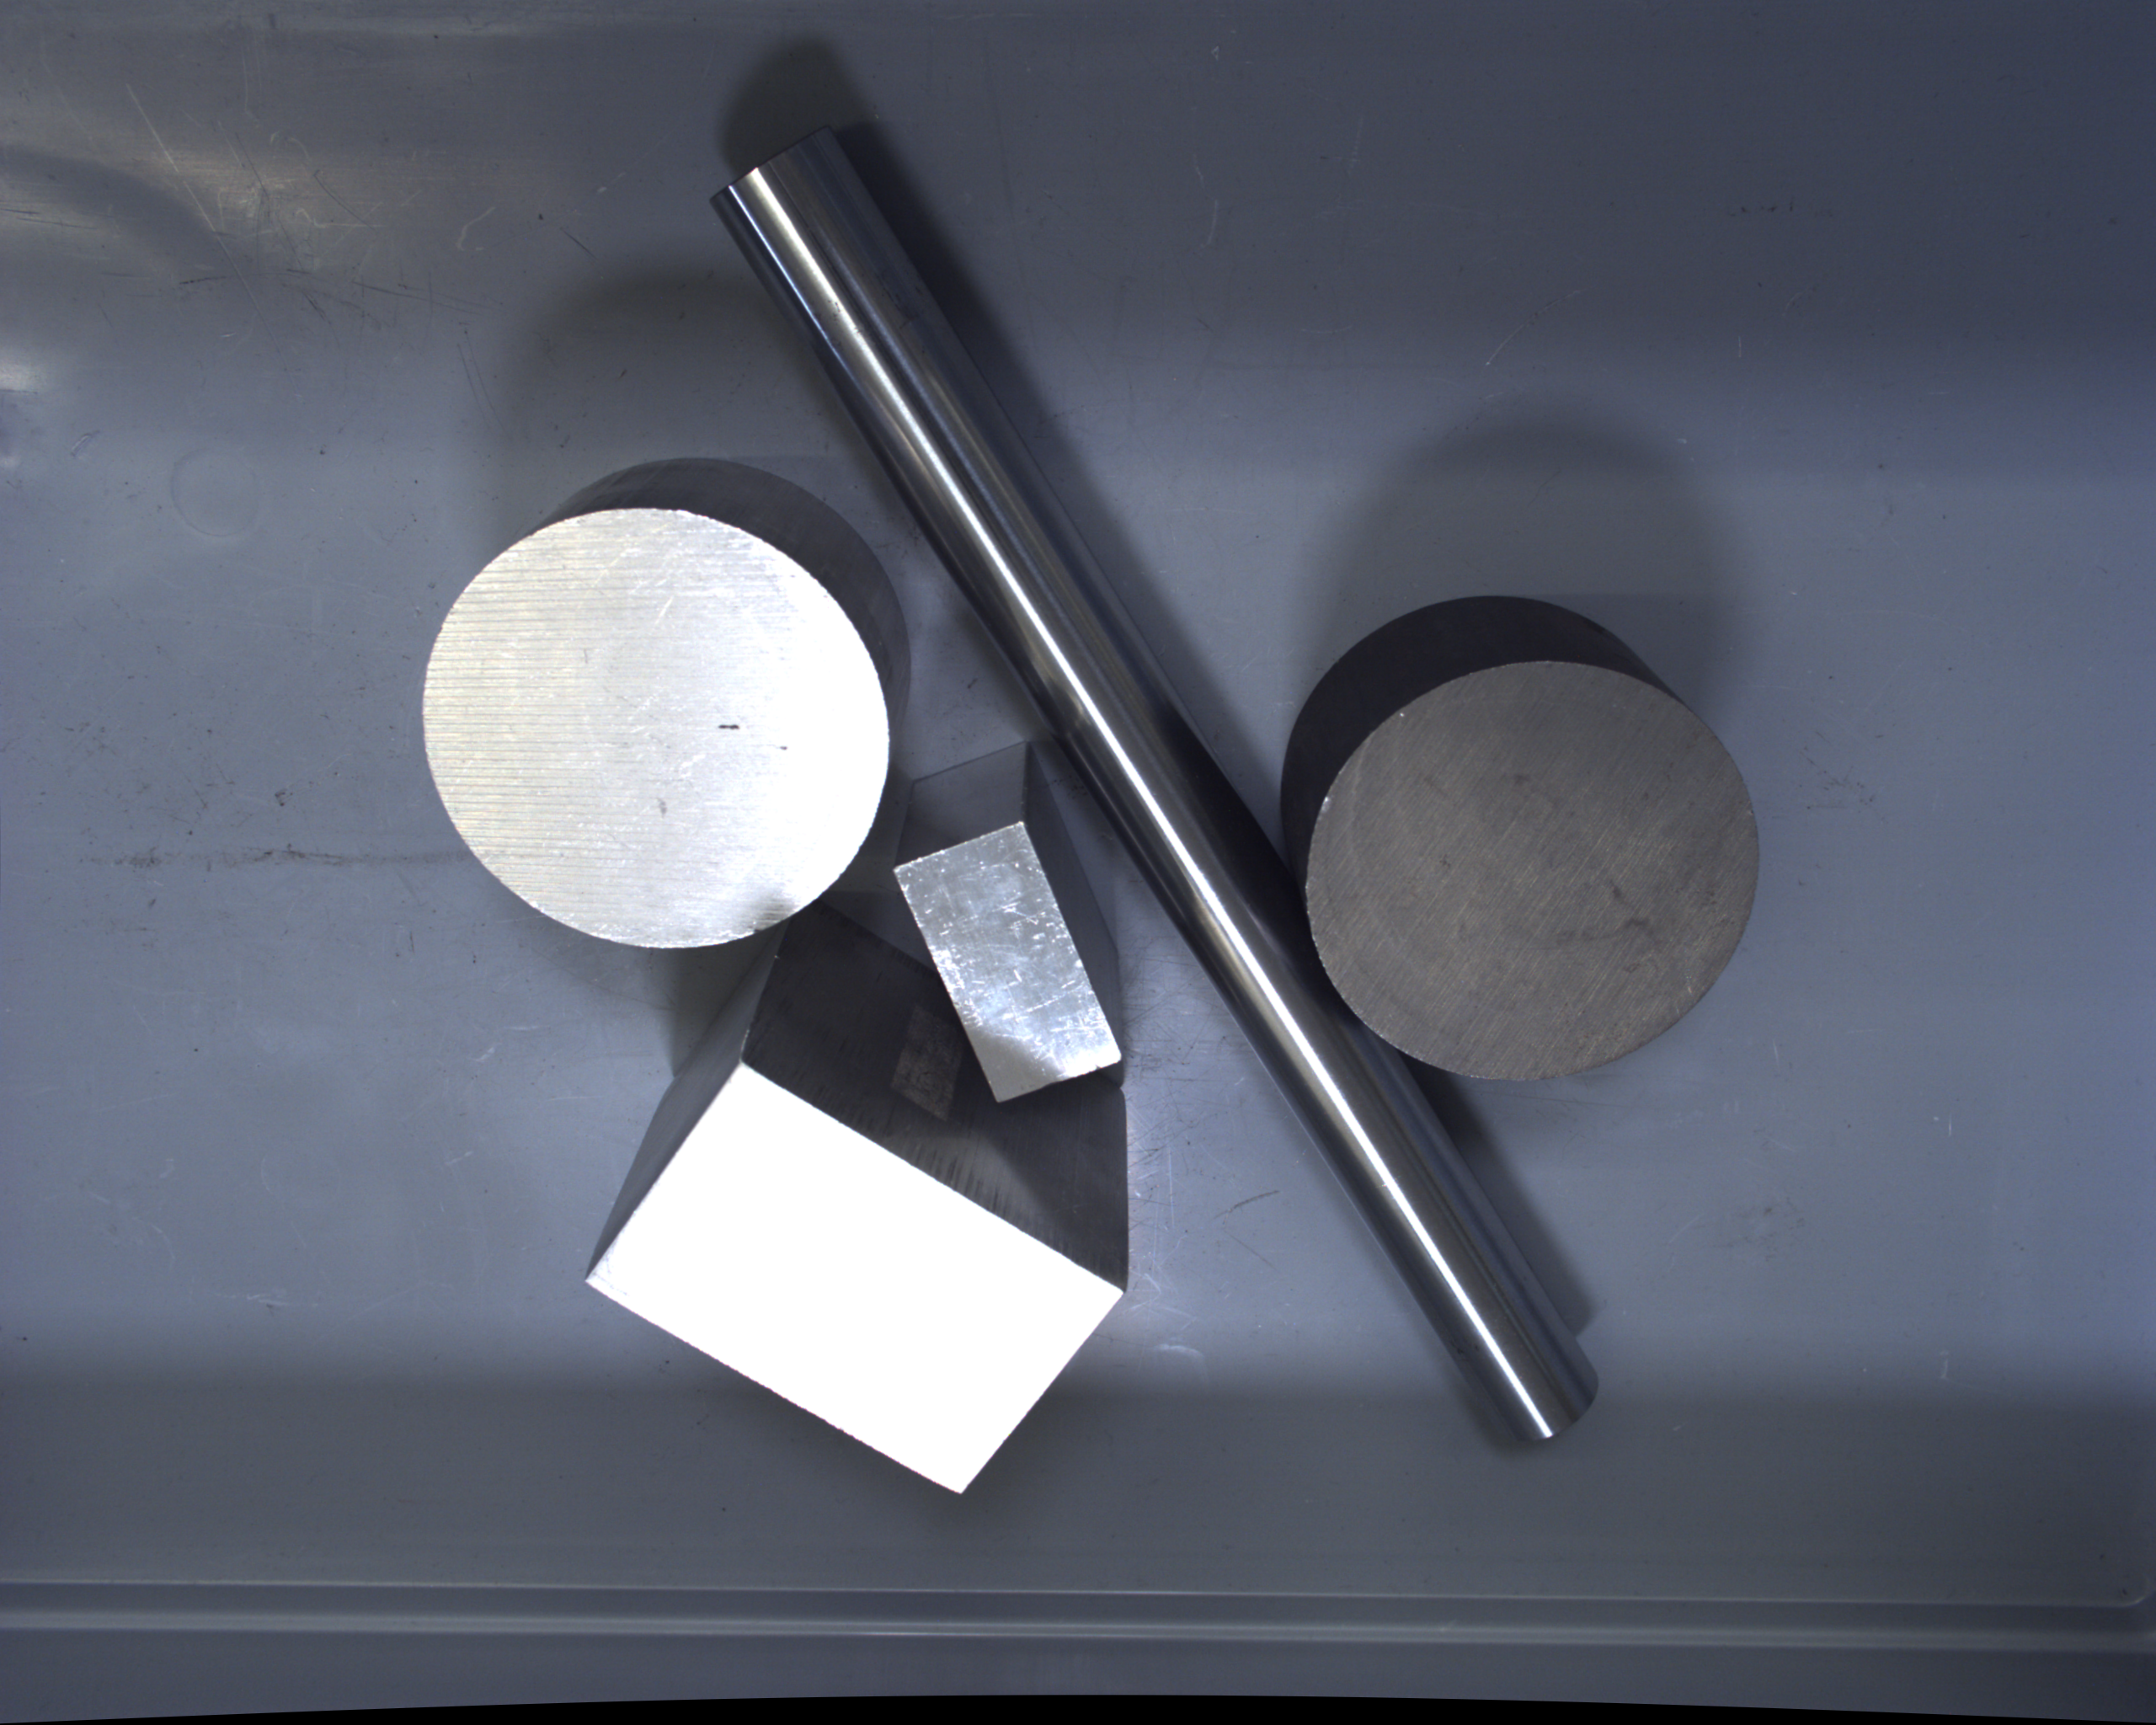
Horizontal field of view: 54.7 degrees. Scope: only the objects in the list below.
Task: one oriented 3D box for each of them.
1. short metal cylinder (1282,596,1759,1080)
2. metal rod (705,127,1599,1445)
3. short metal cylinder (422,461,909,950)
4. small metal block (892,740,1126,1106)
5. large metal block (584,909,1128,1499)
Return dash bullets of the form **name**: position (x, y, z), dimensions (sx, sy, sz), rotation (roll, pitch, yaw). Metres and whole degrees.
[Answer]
- **short metal cylinder**: position (0.081, -0.006, 0.395), dimensions (0.081, 0.050, 0.079), rotation (0, 110, 0)
- **metal rod**: position (0.024, -0.002, 0.409), dimensions (0.025, 0.025, 0.299), rotation (-30, 108, 10)
- **short metal cylinder**: position (-0.073, -0.030, 0.384), dimensions (0.081, 0.050, 0.079), rotation (0, 110, 0)
- **small metal block**: position (-0.012, 0.010, 0.399), dimensions (0.025, 0.050, 0.050), rotation (-20, 109, 7)
- **large metal block**: position (-0.038, 0.061, 0.401), dimensions (0.080, 0.080, 0.050), rotation (33, 108, -11)
